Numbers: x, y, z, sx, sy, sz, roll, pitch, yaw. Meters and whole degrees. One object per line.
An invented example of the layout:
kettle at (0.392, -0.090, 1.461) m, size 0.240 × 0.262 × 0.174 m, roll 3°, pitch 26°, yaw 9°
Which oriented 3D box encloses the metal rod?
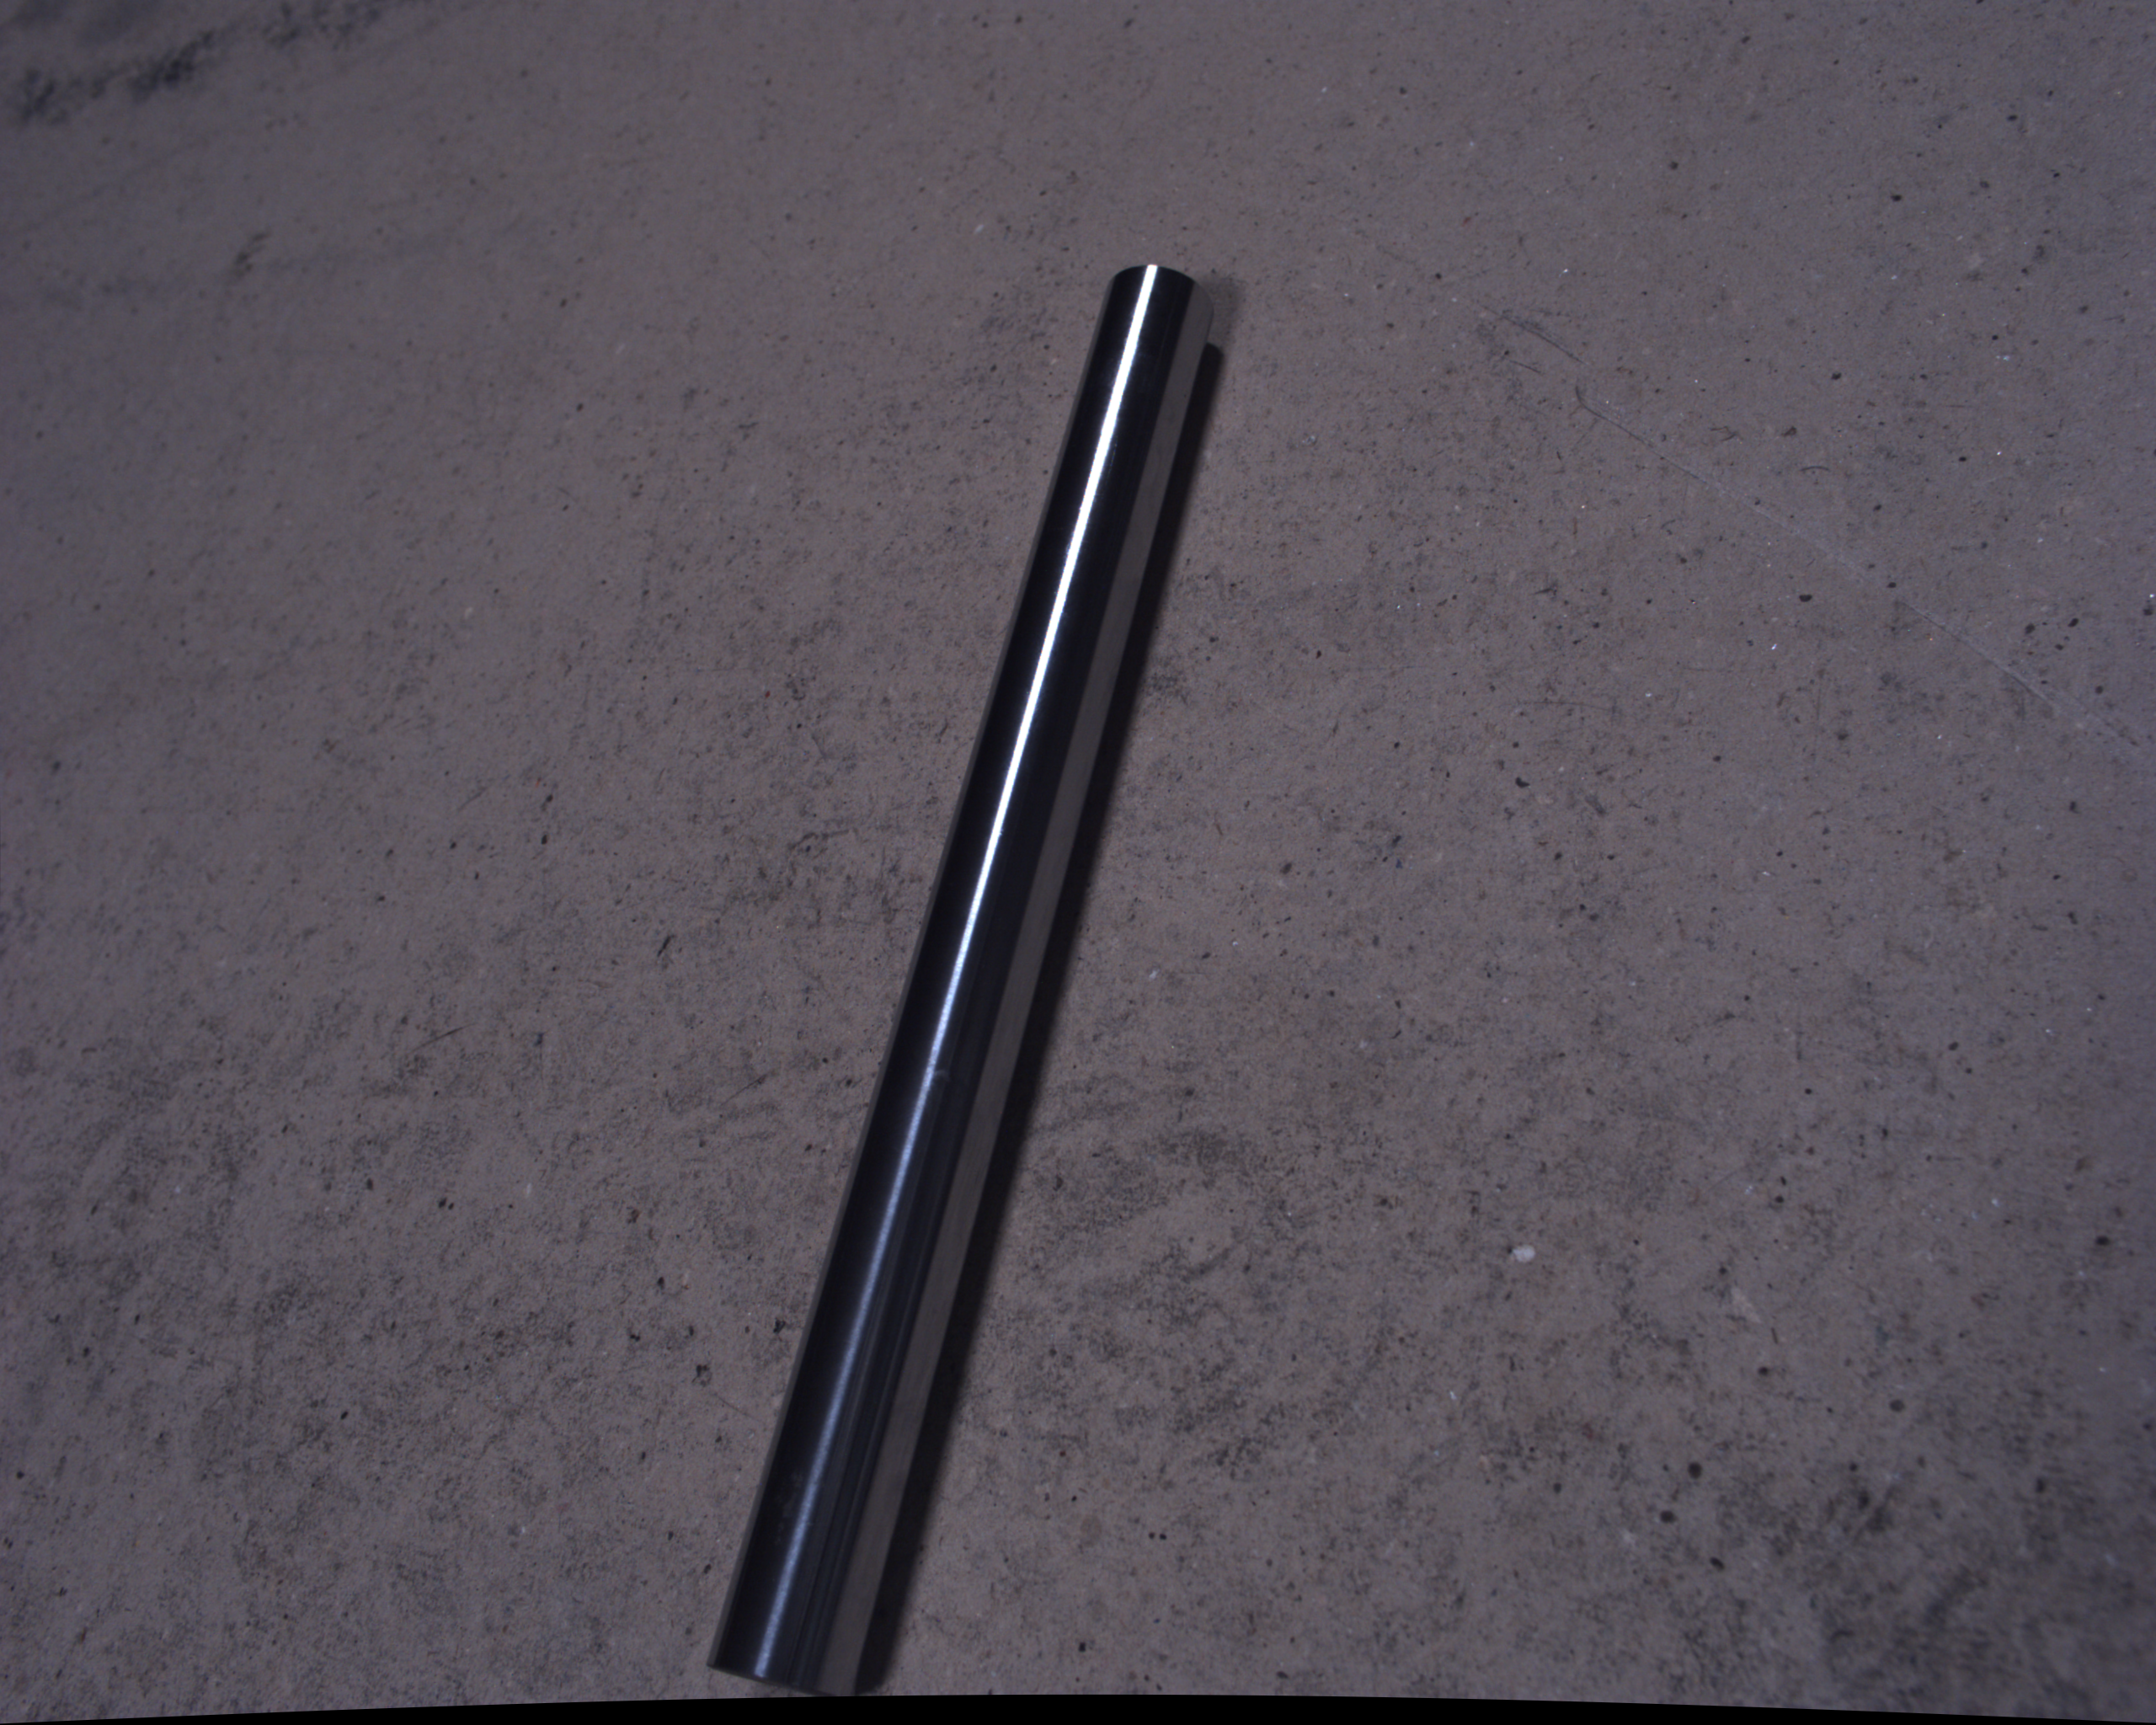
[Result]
metal rod at (-0.016, 0.005, 0.409) m, size 0.025 × 0.025 × 0.300 m, roll 0°, pitch 62°, yaw 28°
